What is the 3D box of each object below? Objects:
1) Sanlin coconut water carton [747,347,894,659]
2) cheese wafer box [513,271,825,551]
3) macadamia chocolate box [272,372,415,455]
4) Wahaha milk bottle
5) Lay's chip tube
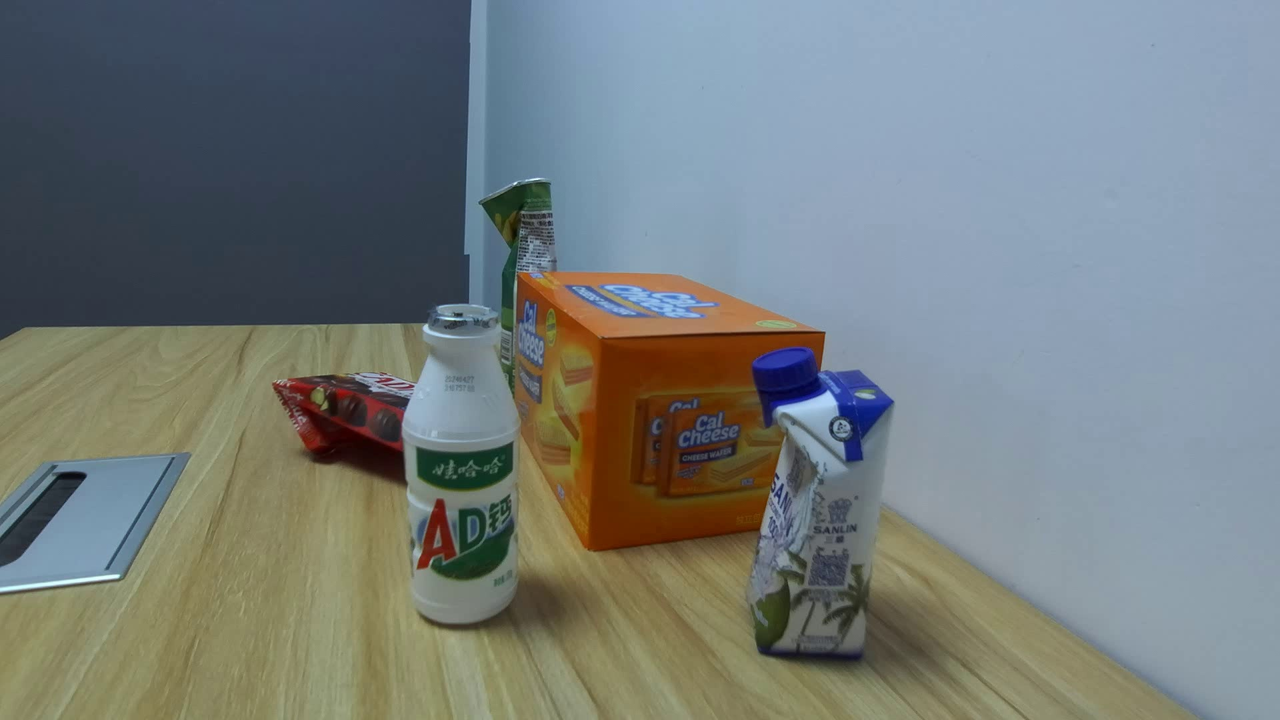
[{"bbox_3d":[0.082,0.067,0.339,0.058,0.142,0.078,-2,13,1],"label":"Sanlin coconut water carton"},{"bbox_3d":[0.007,0.018,0.508,0.149,0.129,0.221,-3,17,-19],"label":"cheese wafer box"},{"bbox_3d":[-0.181,0.037,0.522,0.126,0.056,0.112,9,17,21],"label":"macadamia chocolate box"},{"bbox_3d":[-0.084,0.055,0.335,0.053,0.136,0.053,3,14,0],"label":"Wahaha milk bottle"},{"bbox_3d":[-0.103,-0.061,0.643,0.071,0.199,0.079,-4,12,-6],"label":"Lay's chip tube"}]
